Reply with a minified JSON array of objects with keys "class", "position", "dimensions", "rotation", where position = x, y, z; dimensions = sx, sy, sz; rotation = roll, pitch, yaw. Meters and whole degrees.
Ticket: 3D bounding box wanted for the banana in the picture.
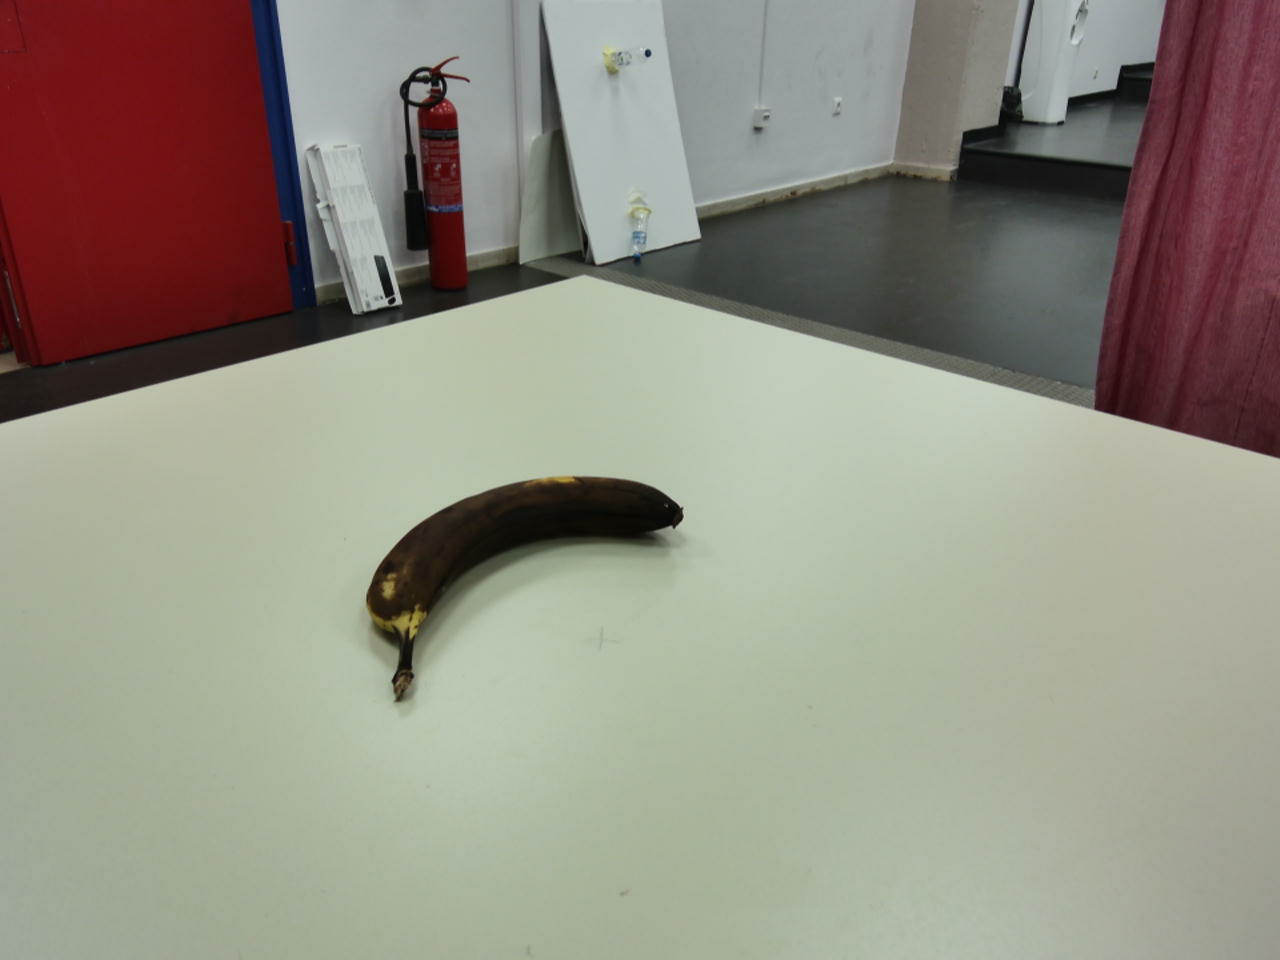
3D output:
[{"class":"banana","position":[-0.068,0.033,0.493],"dimensions":[0.091,0.034,0.188],"rotation":[21,31,37]}]
